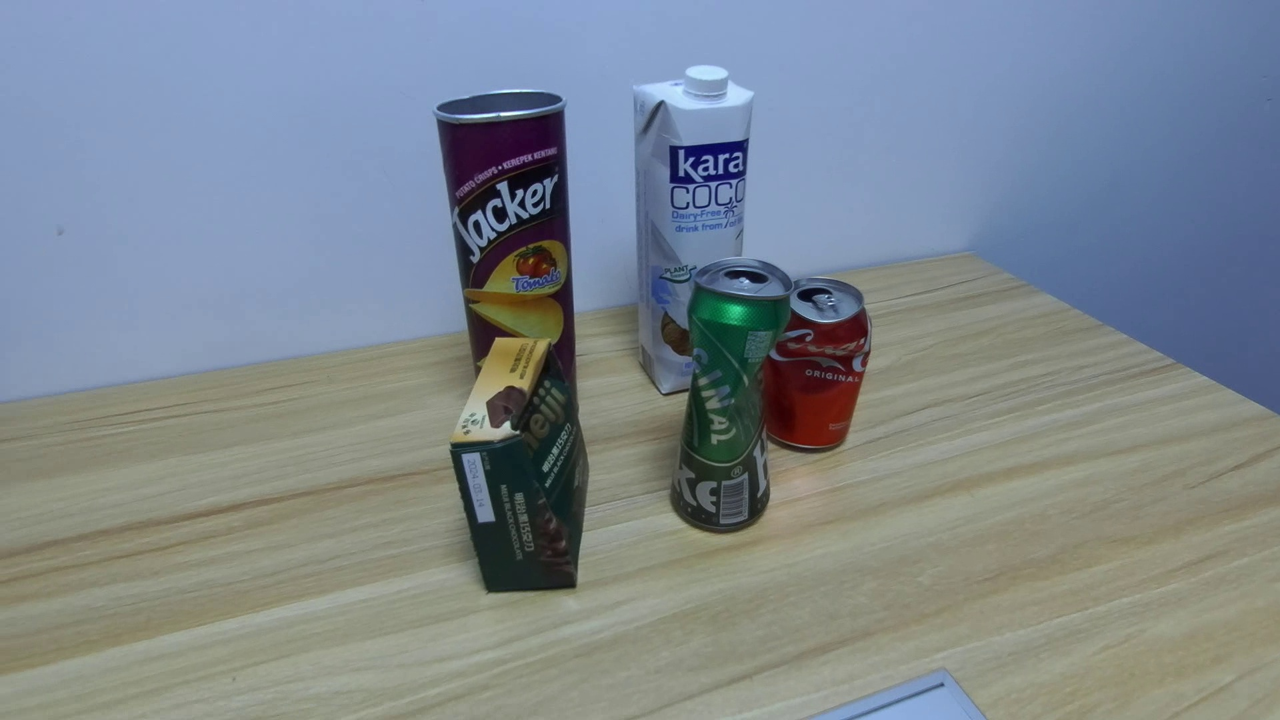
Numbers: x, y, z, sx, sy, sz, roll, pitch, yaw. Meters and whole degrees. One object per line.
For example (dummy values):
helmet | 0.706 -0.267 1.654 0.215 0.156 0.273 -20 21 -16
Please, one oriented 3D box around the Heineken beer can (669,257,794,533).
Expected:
Heineken beer can | 0.053 0.026 0.428 0.078 0.164 0.065 -15 34 -28

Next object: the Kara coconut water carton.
Kara coconut water carton | 0.038 -0.093 0.540 0.077 0.245 0.075 -9 29 -15

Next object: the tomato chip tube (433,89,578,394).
tomato chip tube | -0.085 -0.059 0.499 0.080 0.234 0.076 -2 30 -3

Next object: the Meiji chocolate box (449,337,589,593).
Meiji chocolate box | -0.066 0.060 0.426 0.058 0.111 0.113 -6 30 2

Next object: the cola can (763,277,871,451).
cola can | 0.128 0.003 0.509 0.072 0.117 0.065 14 33 20
